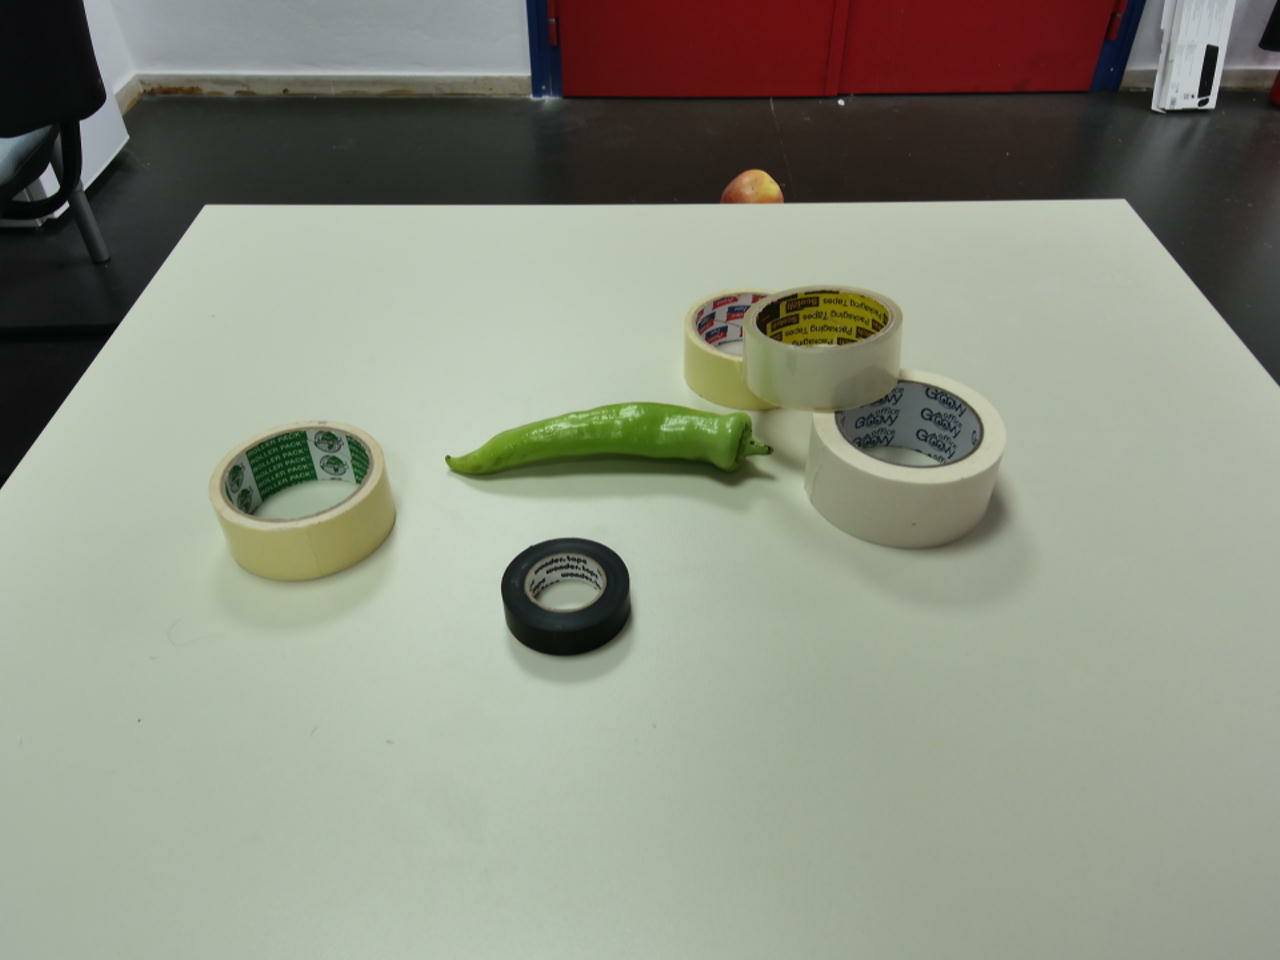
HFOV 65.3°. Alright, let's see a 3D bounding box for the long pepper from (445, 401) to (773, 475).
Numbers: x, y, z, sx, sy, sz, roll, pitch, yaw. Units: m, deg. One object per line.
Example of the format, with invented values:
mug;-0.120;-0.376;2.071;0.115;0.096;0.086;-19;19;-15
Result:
long pepper;-0.019;-0.027;0.603;0.197;0.038;0.046;1;39;2
